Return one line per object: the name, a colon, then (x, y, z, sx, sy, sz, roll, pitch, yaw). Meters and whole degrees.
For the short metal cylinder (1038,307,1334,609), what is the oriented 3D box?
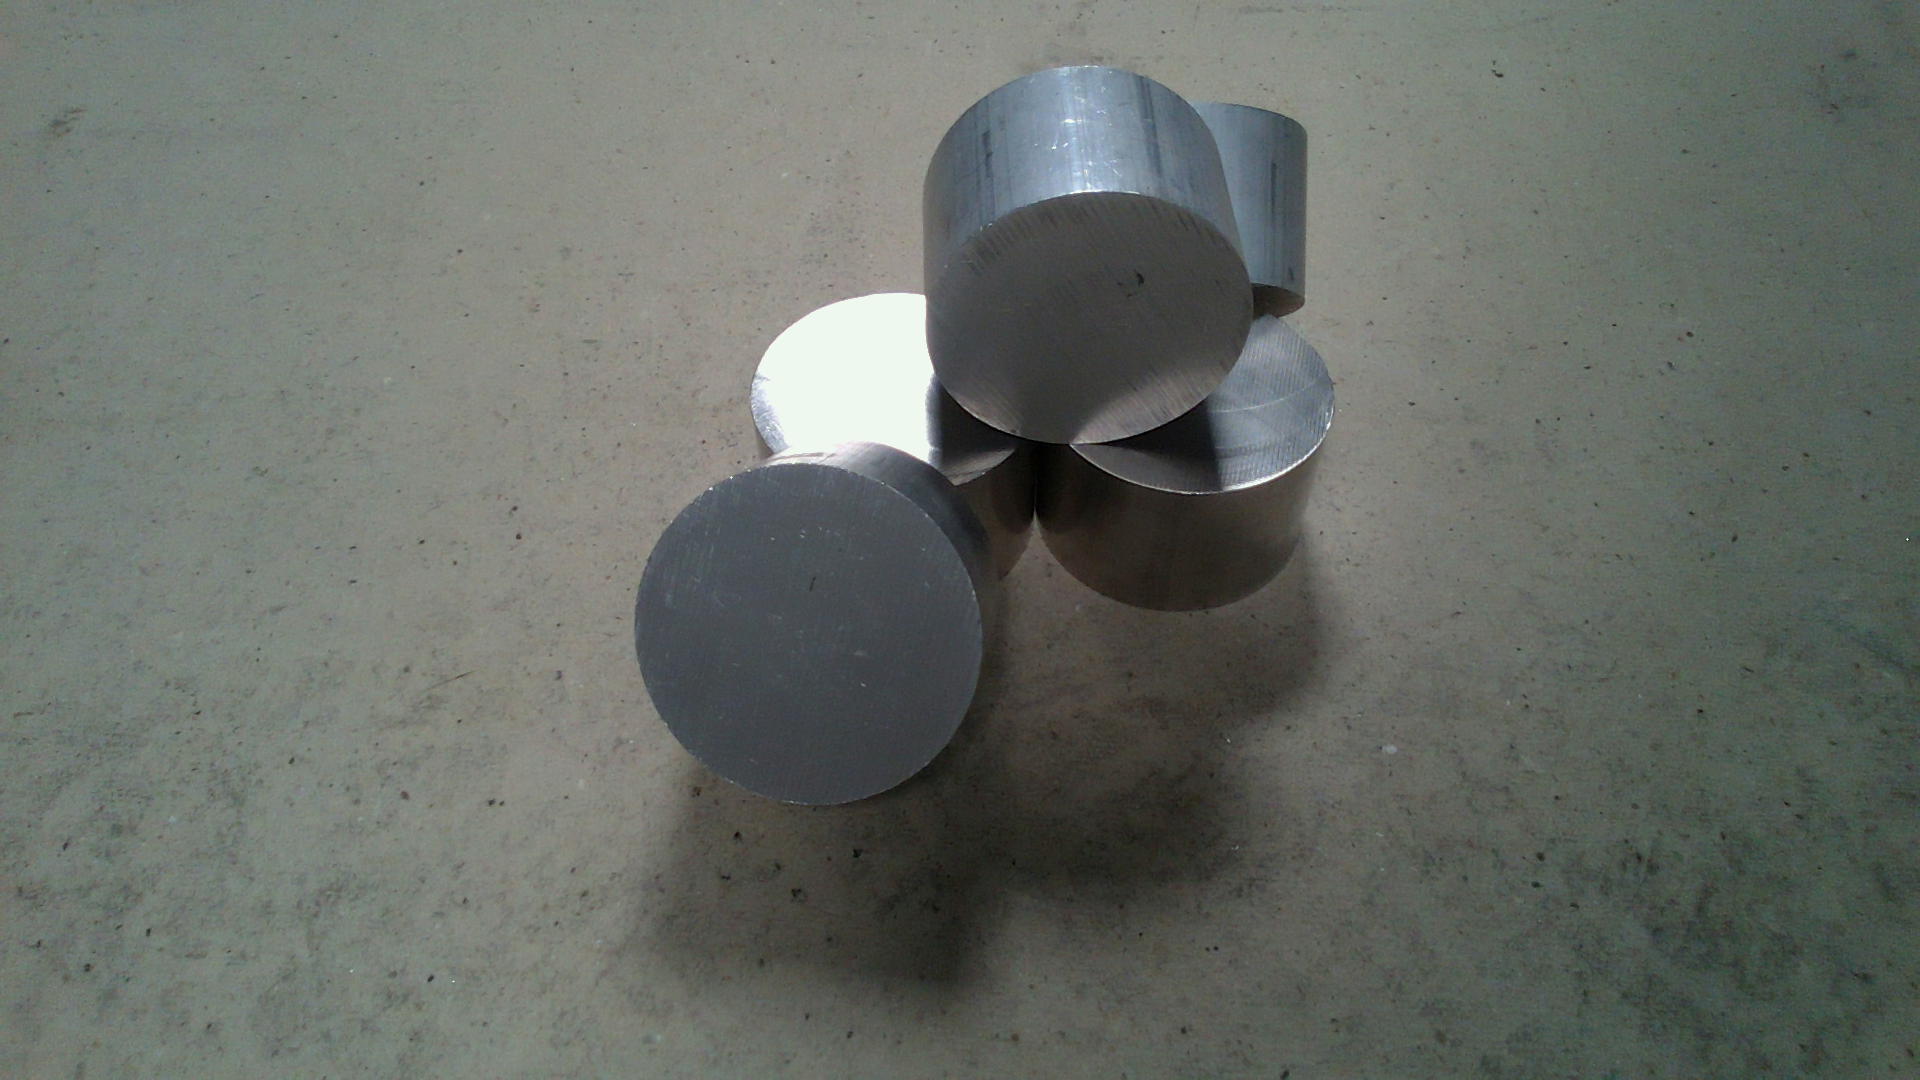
short metal cylinder: (0.062, -0.027, 0.398, 0.080, 0.050, 0.080, 0, 50, 0)

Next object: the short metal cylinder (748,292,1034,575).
short metal cylinder: (-0.018, -0.026, 0.397, 0.080, 0.050, 0.080, 0, 50, 0)

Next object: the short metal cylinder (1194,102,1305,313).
short metal cylinder: (0.066, -0.098, 0.429, 0.080, 0.080, 0.050, 0, 88, 1)

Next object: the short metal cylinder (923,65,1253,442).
short metal cylinder: (0.030, -0.071, 0.350, 0.080, 0.080, 0.050, -1, 50, -1)

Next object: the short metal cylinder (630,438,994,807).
short metal cylinder: (-0.032, 0.017, 0.332, 0.080, 0.080, 0.050, 6, 11, 5)
